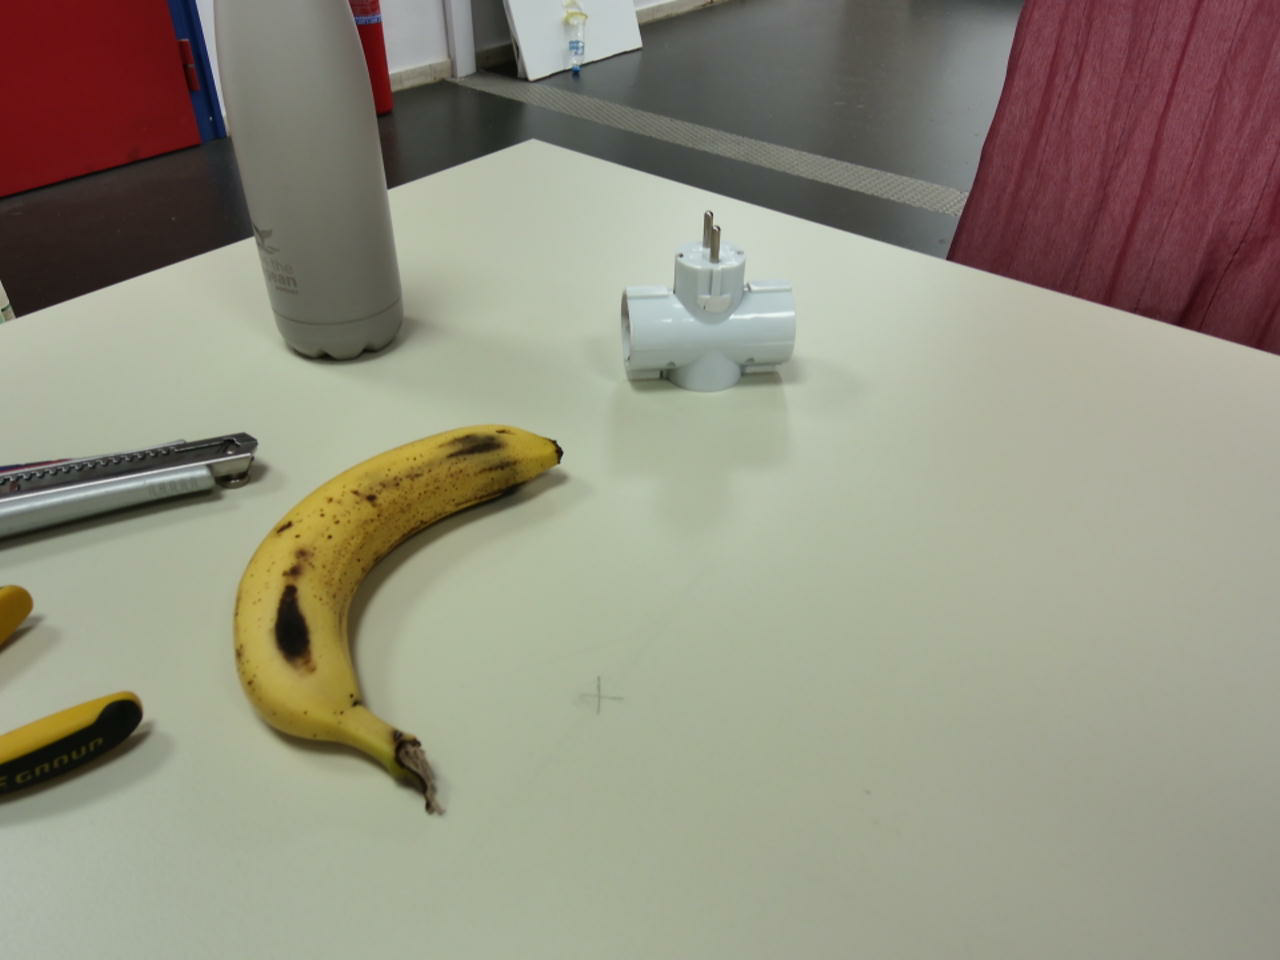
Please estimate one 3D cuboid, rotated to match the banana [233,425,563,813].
[{"bbox_3d":[-0.098,0.031,0.397,0.097,0.038,0.186,7,35,7],"label":"banana"}]
